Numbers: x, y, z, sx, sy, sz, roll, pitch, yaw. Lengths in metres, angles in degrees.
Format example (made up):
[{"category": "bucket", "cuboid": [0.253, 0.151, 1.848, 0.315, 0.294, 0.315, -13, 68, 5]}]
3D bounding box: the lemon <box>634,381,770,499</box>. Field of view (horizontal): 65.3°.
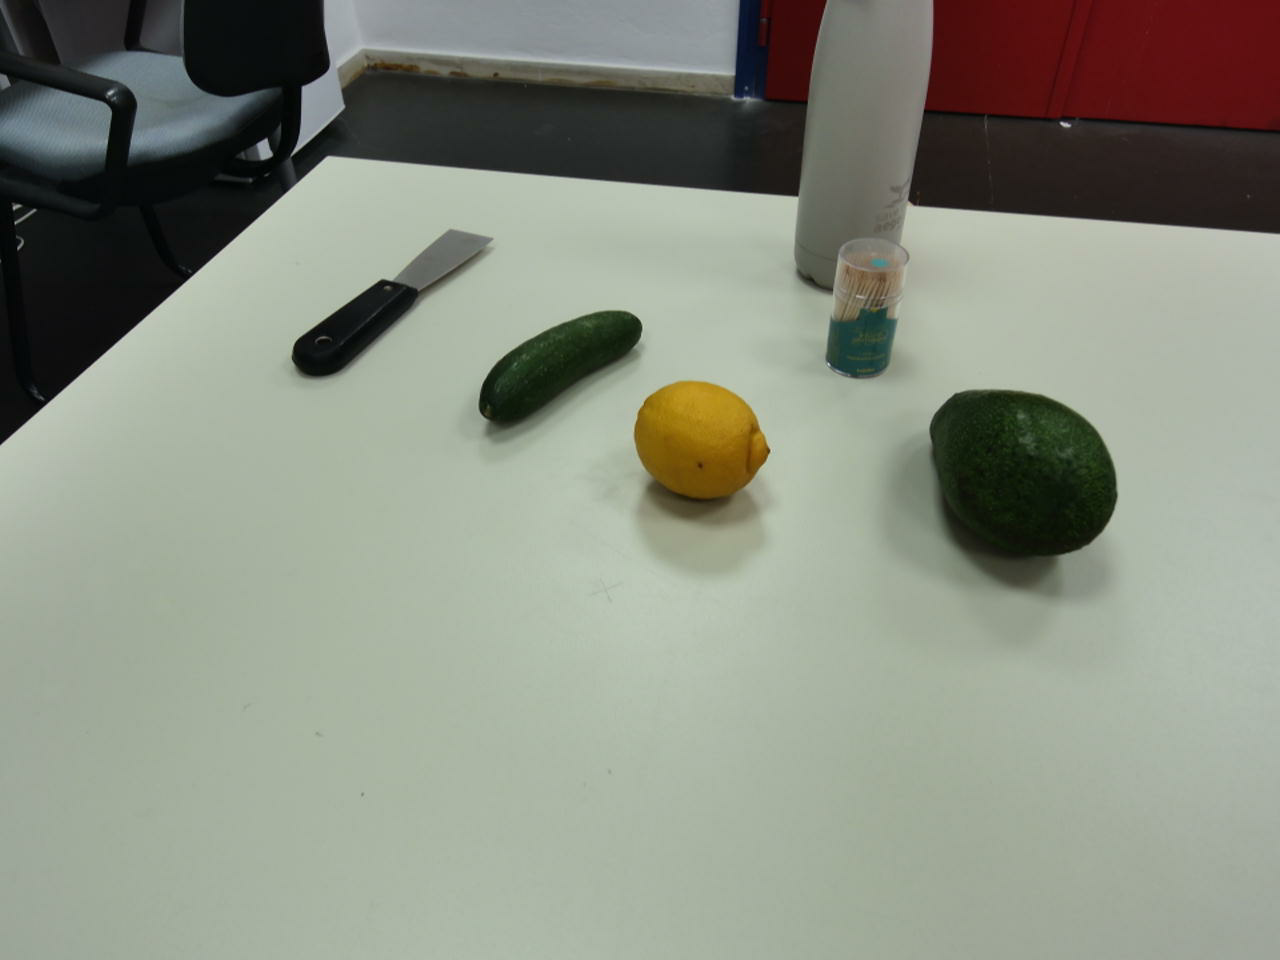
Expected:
[{"category": "lemon", "cuboid": [0.031, -0.020, 0.519, 0.060, 0.059, 0.067, -23, 44, -26]}]
